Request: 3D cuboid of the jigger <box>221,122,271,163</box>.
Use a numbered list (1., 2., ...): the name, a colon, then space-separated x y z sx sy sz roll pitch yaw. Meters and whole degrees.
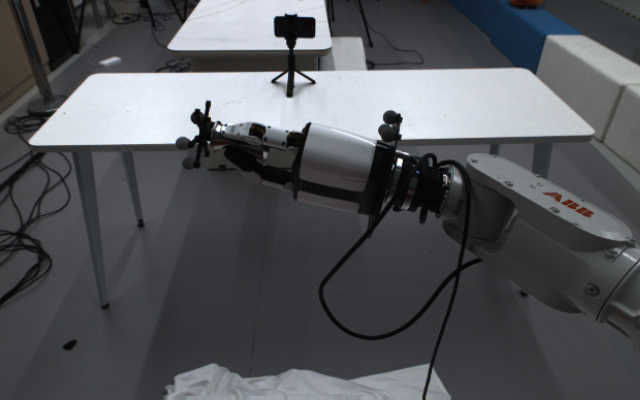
1. jigger: -0.094 -0.078 0.616 0.071 0.043 0.043 11 35 3
